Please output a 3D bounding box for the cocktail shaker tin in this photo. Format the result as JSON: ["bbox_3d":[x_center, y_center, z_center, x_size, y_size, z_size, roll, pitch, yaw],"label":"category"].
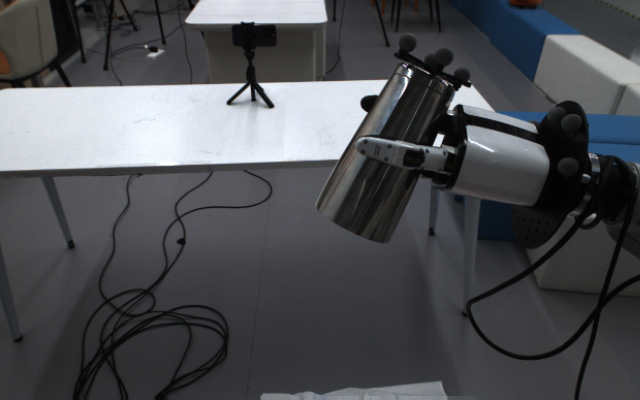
[{"bbox_3d":[0.075,-0.052,0.512,0.093,0.170,0.093,24,12,-6],"label":"cocktail shaker tin"}]
